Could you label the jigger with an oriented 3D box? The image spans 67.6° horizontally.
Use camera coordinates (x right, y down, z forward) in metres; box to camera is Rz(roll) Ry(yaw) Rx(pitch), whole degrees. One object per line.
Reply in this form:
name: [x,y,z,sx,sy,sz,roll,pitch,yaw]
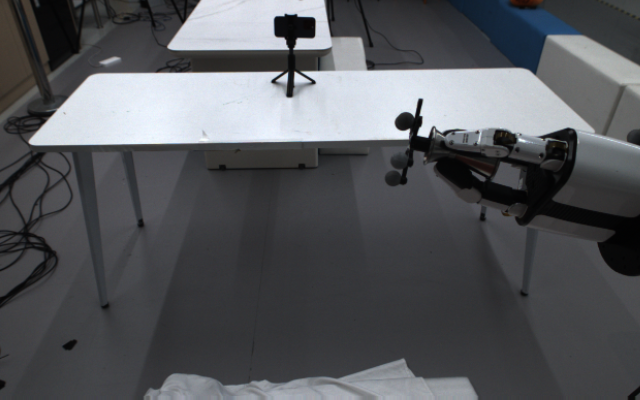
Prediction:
jigger: [0.150,-0.051,0.491,0.071,0.043,0.043,13,36,3]
